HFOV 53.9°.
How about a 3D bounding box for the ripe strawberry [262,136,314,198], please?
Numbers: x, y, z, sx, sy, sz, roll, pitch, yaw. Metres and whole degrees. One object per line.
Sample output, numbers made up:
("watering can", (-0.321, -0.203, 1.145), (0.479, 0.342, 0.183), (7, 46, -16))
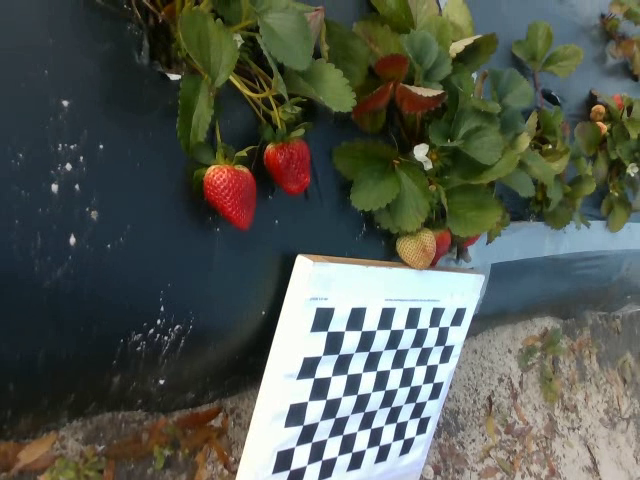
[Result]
("ripe strawberry", (-0.021, -0.063, 0.527), (0.042, 0.053, 0.034), (-13, -8, -36))

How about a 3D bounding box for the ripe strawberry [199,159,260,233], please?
("ripe strawberry", (-0.065, -0.033, 0.487), (0.050, 0.061, 0.045), (-6, -15, -39))
